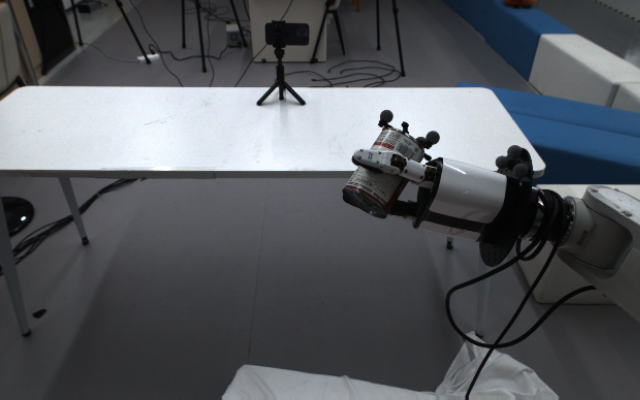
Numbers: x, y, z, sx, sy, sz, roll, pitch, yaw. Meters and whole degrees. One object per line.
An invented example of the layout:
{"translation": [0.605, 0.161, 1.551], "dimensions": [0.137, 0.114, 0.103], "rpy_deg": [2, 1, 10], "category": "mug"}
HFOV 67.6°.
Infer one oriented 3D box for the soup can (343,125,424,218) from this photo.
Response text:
{"translation": [0.084, -0.038, 0.639], "dimensions": [0.067, 0.067, 0.101], "rpy_deg": [27, 76, 31], "category": "soup can"}
